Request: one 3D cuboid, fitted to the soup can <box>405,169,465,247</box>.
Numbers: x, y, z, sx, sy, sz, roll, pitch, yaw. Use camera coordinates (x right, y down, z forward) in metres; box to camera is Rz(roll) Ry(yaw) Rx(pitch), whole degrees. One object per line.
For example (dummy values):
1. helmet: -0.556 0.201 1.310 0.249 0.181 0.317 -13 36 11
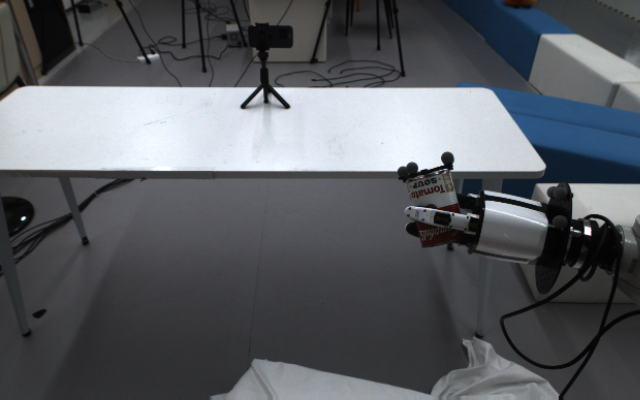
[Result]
1. soup can: 0.170 0.012 0.710 0.067 0.101 0.067 -14 -2 -1
